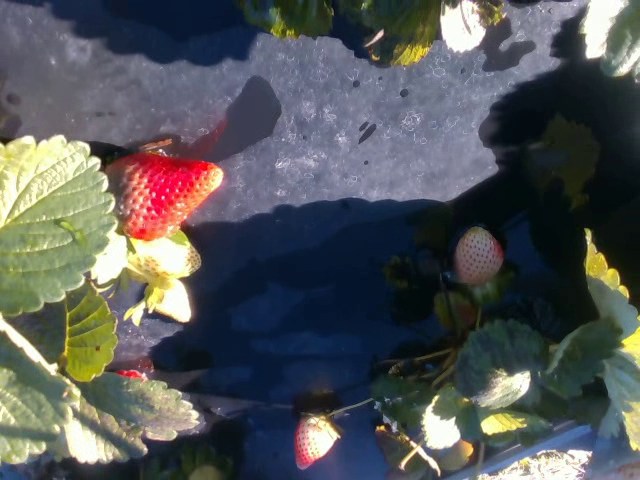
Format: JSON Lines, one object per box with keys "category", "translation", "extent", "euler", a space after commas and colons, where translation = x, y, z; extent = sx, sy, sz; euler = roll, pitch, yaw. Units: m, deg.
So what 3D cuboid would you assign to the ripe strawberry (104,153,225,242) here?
{"category": "ripe strawberry", "translation": [-0.070, -0.025, 0.283], "extent": [0.064, 0.052, 0.049], "euler": [-20, -14, 19]}
